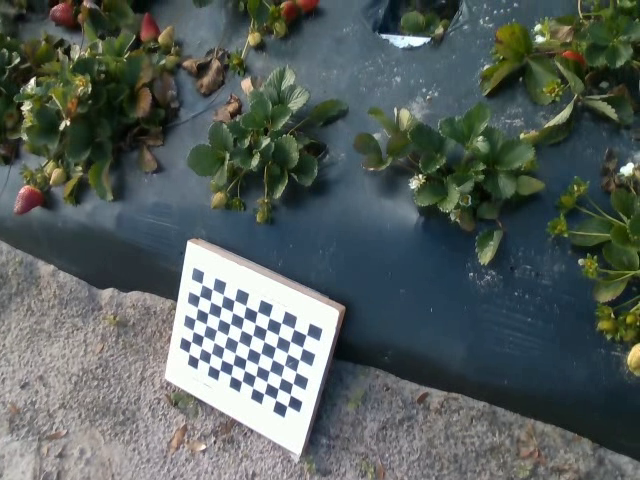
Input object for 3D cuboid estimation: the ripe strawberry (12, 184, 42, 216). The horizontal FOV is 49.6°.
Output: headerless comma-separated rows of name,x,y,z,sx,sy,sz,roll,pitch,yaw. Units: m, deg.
ripe strawberry,-0.600,-0.079,1.401,0.052,0.068,0.045,18,-20,24
